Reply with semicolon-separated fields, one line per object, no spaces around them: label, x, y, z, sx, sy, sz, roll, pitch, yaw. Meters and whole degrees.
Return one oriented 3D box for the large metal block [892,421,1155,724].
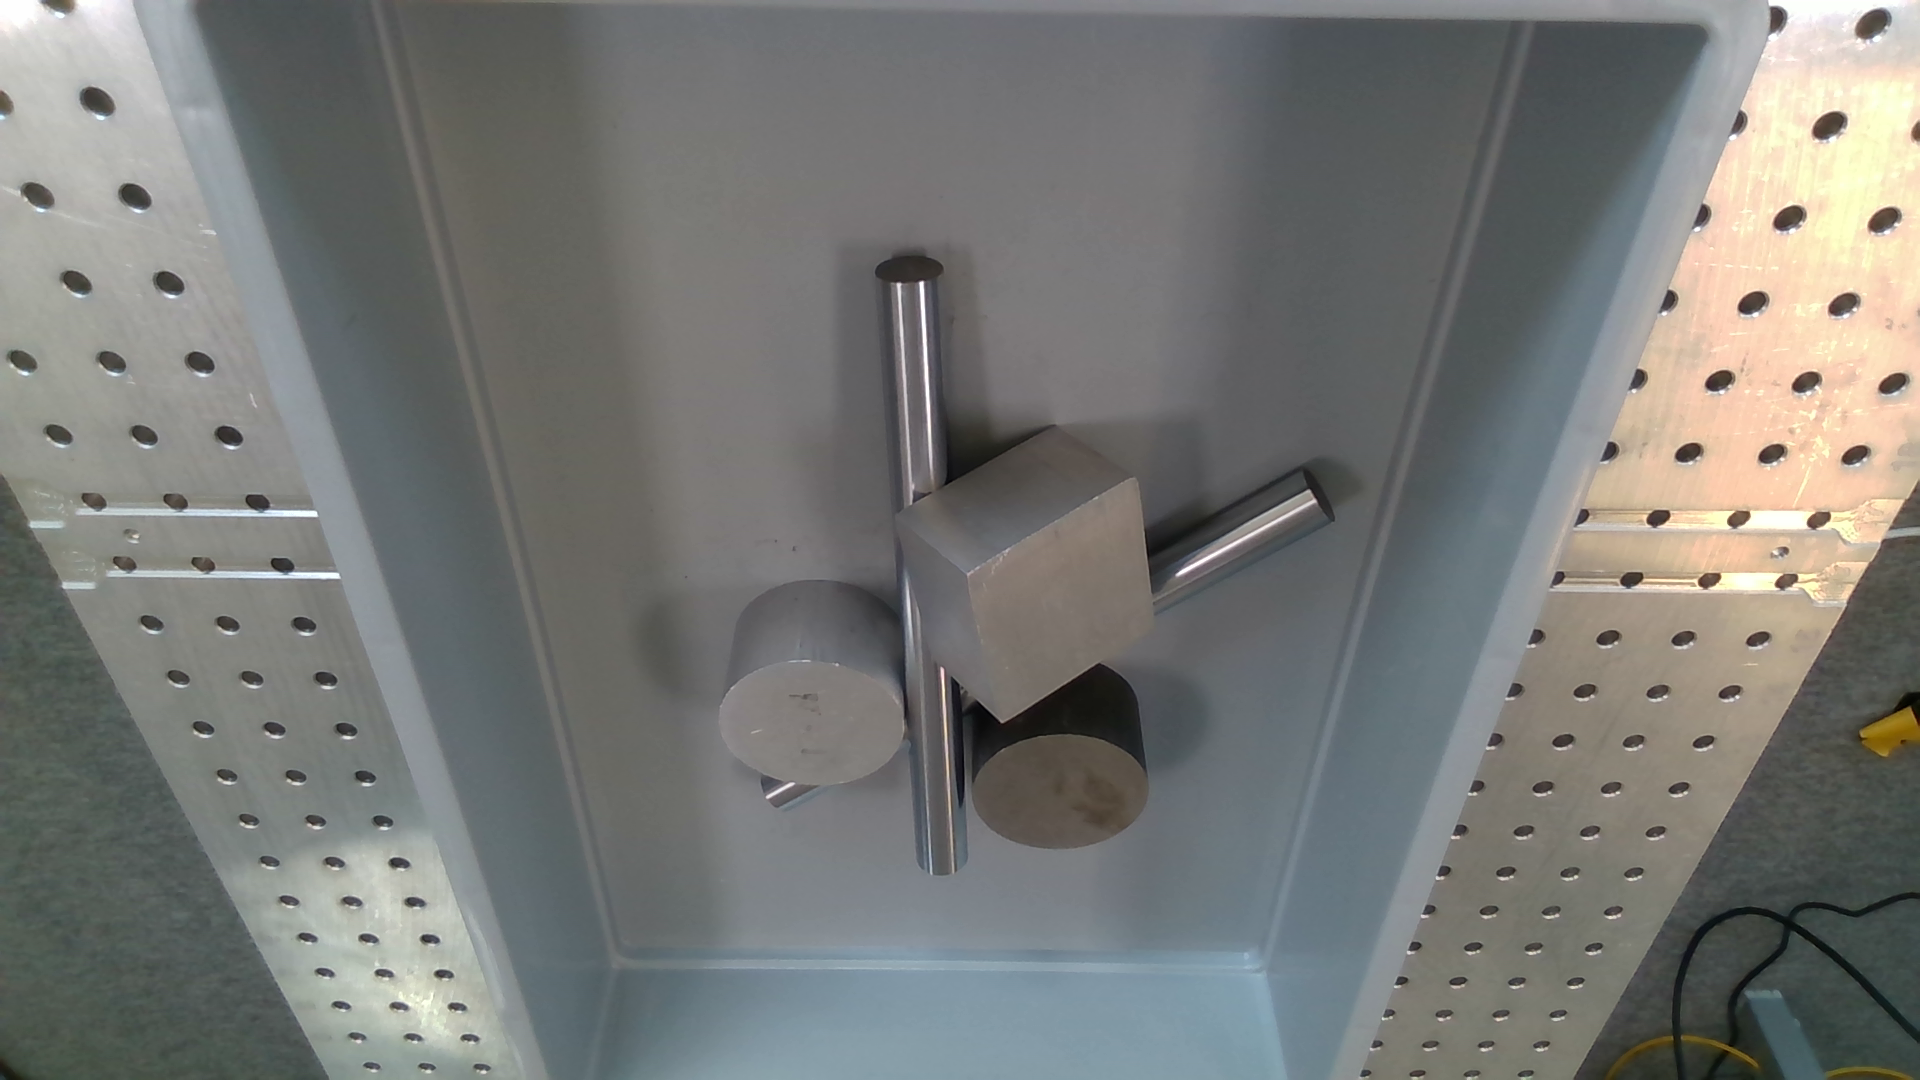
large metal block;0.027;0.012;0.549;0.080;0.050;0.080;-30;132;-20

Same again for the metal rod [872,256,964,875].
metal rod;-0.014;0.027;0.579;0.025;0.025;0.301;-2;124;1

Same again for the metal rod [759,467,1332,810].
metal rod;0.028;0.051;0.622;0.300;0.025;0.025;-31;124;23

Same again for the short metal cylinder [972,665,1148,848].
short metal cylinder;0.046;0.100;0.646;0.080;0.050;0.080;0;130;0

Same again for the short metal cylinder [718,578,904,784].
short metal cylinder;-0.065;0.064;0.616;0.080;0.050;0.080;0;130;0
